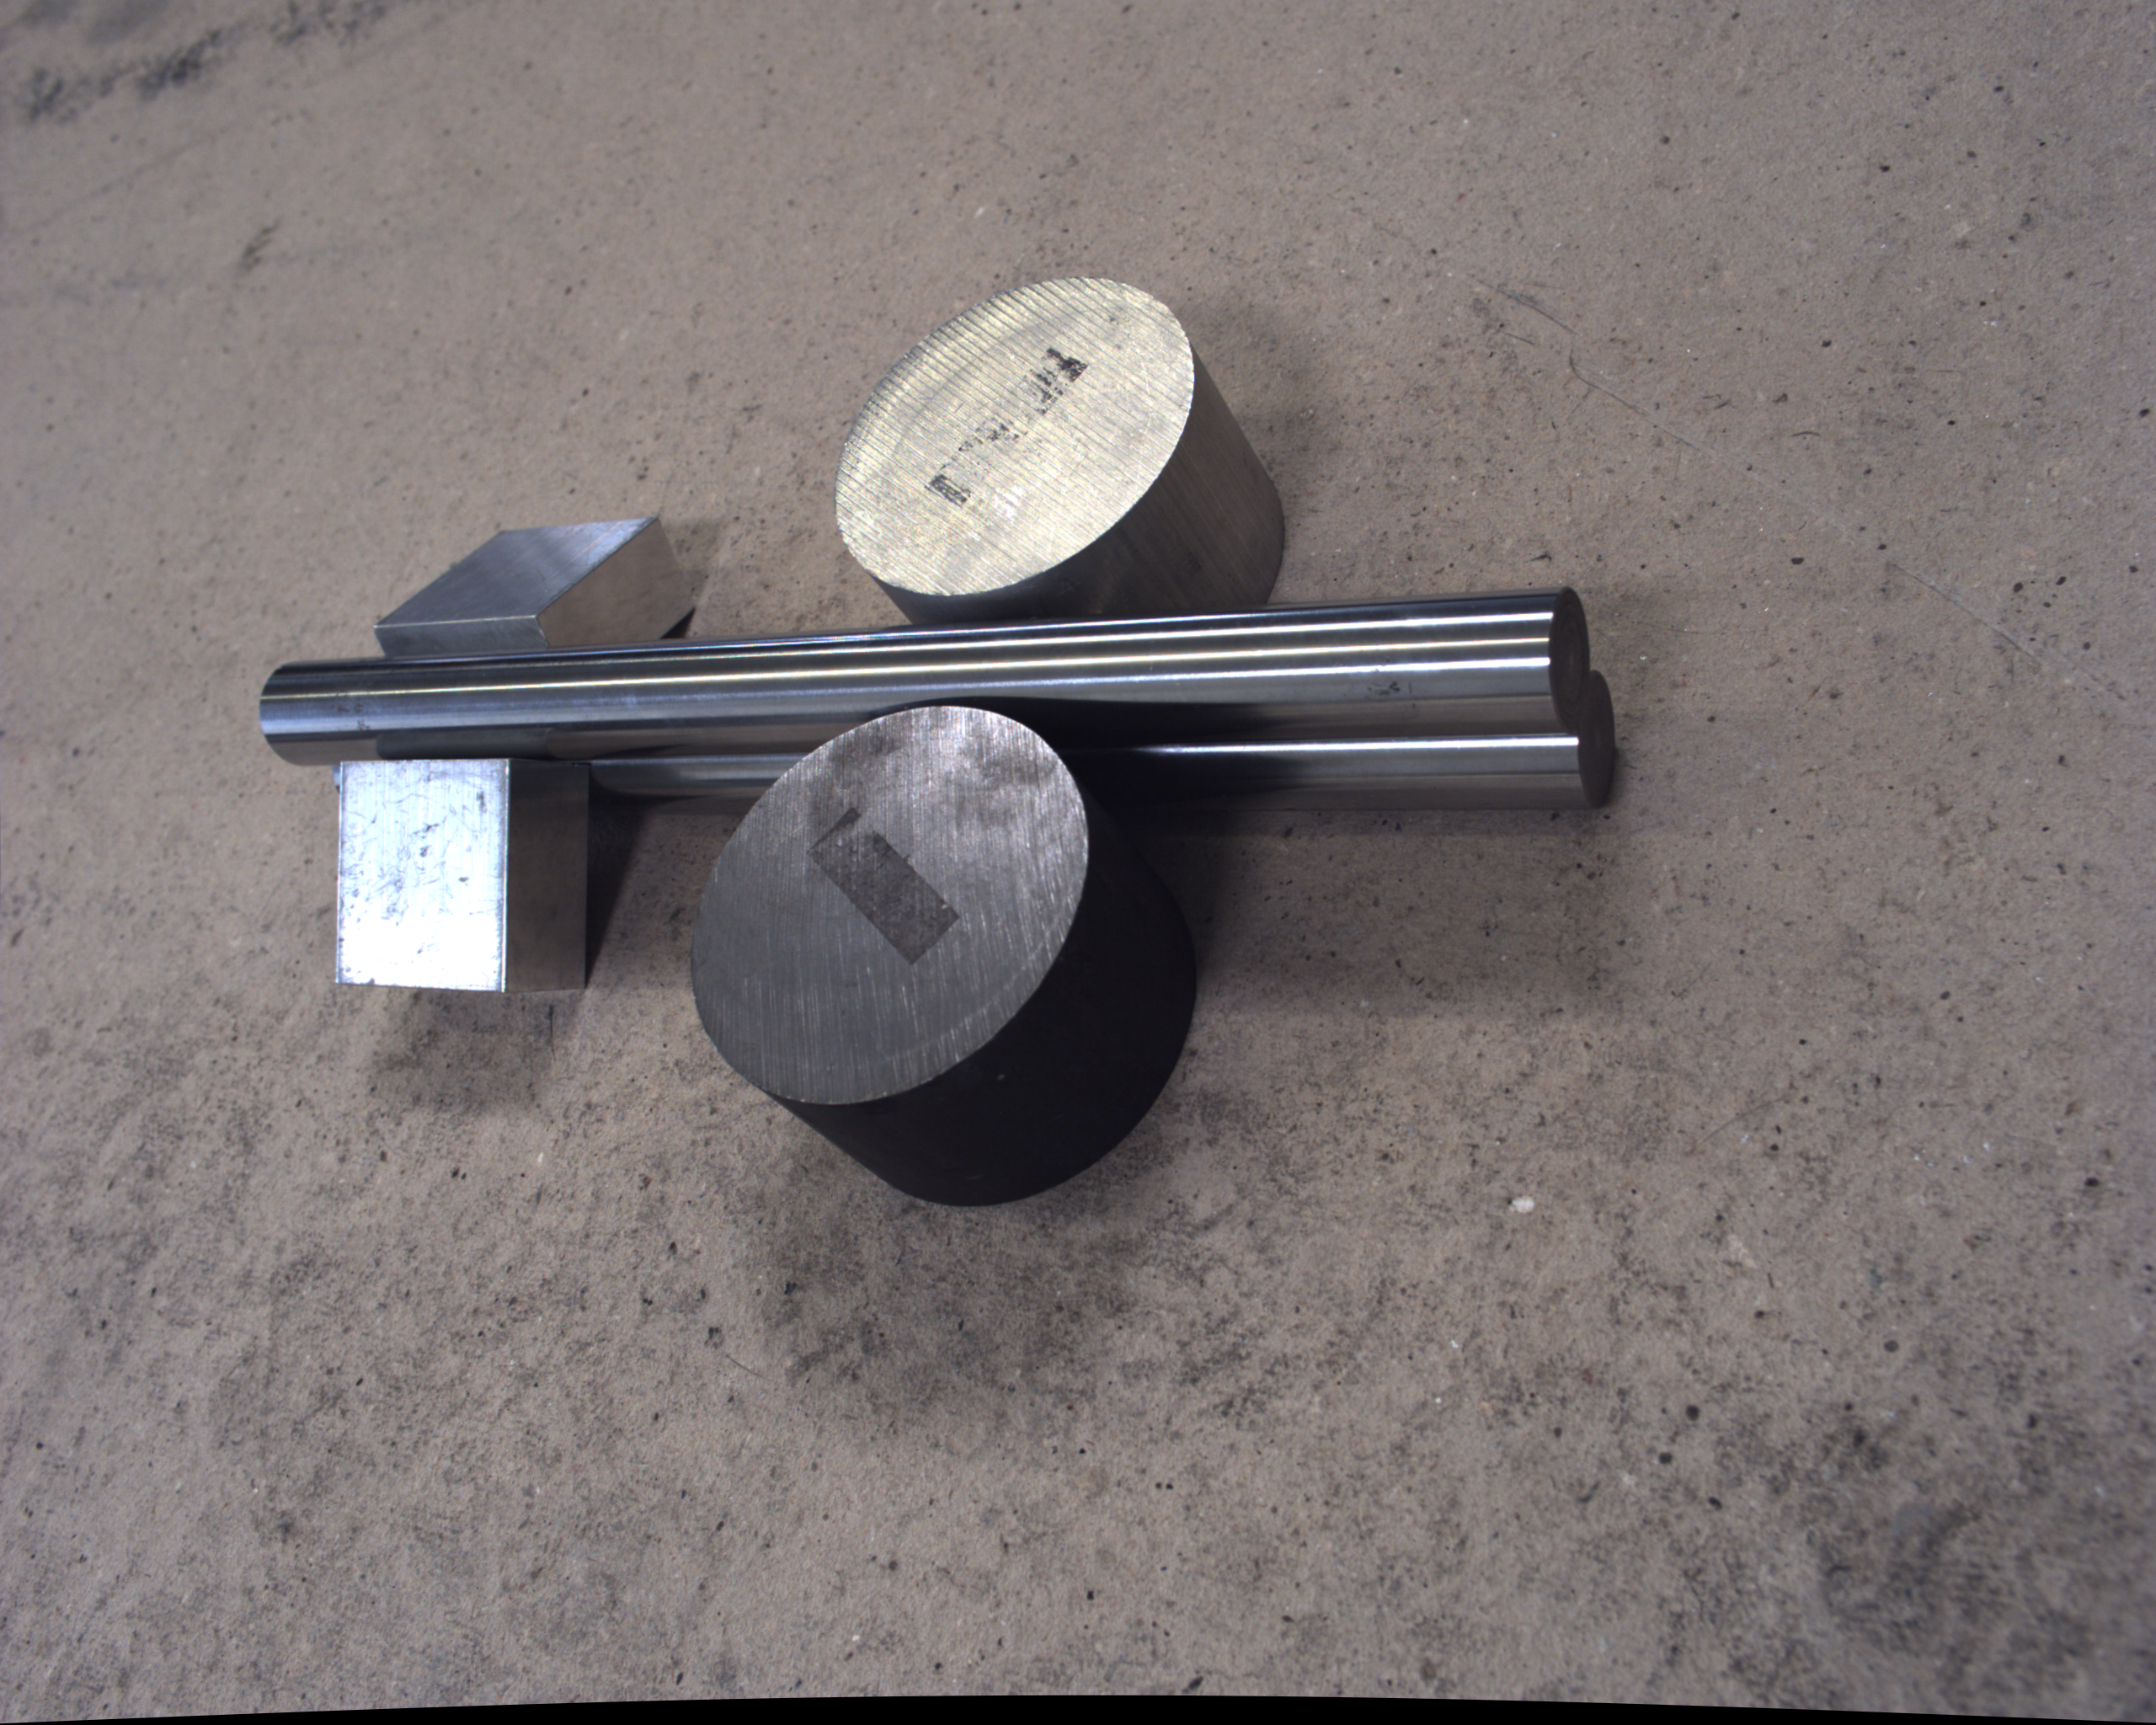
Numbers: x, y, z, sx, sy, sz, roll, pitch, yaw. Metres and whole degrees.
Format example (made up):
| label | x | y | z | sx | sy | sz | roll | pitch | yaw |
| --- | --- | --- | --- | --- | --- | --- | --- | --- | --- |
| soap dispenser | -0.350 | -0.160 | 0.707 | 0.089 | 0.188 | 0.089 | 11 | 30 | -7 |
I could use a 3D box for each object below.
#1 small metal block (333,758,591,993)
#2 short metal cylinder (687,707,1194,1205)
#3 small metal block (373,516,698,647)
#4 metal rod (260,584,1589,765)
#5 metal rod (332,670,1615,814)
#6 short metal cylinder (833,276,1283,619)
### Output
| label | x | y | z | sx | sy | sz | roll | pitch | yaw |
| --- | --- | --- | --- | --- | --- | --- | --- | --- | --- |
| small metal block | -0.137 | 0.003 | 0.463 | 0.050 | 0.025 | 0.050 | 1 | 89 | 28 |
| short metal cylinder | -0.025 | 0.018 | 0.391 | 0.080 | 0.050 | 0.080 | -13 | 56 | 21 |
| small metal block | -0.128 | -0.058 | 0.497 | 0.050 | 0.025 | 0.050 | 0 | 35 | 28 |
| metal rod | -0.050 | -0.035 | 0.421 | 0.300 | 0.025 | 0.025 | 0 | 62 | 28 |
| metal rod | -0.040 | -0.023 | 0.441 | 0.300 | 0.025 | 0.025 | 0 | 62 | 28 |
| short metal cylinder | -0.004 | -0.075 | 0.437 | 0.080 | 0.050 | 0.080 | -13 | 56 | 21 |
